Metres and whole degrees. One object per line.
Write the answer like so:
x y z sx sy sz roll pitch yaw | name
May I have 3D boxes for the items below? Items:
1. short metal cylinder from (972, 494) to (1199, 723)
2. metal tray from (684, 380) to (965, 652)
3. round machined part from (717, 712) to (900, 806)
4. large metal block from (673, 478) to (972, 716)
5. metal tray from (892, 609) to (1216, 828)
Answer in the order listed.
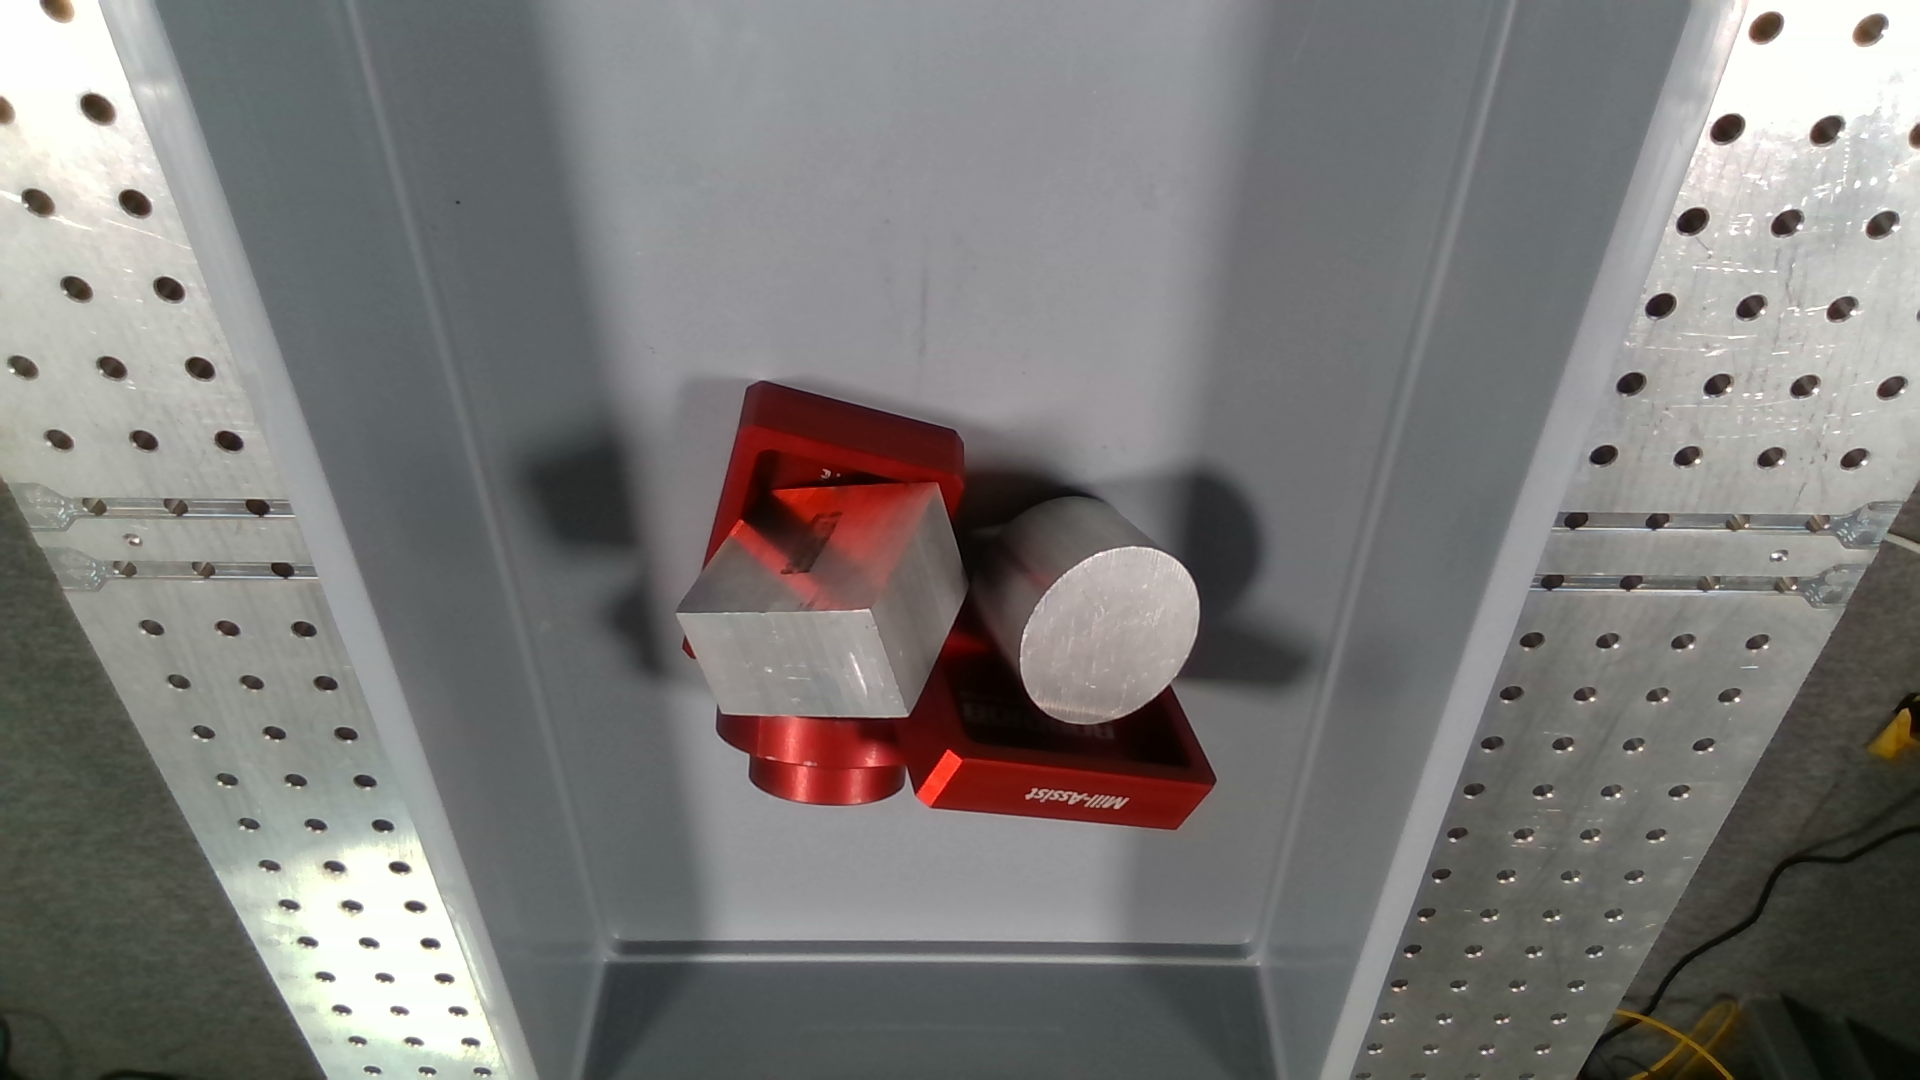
0.050 0.028 0.565 0.080 0.050 0.080 -11 120 -20 | short metal cylinder
-0.059 0.003 0.576 0.090 0.030 0.130 13 128 -11 | metal tray
-0.057 0.083 0.596 0.098 0.098 0.042 4 99 -4 | round machined part
-0.050 0.021 0.530 0.080 0.080 0.050 -2 126 23 | large metal block
0.034 0.072 0.575 0.130 0.090 0.030 11 128 -29 | metal tray
